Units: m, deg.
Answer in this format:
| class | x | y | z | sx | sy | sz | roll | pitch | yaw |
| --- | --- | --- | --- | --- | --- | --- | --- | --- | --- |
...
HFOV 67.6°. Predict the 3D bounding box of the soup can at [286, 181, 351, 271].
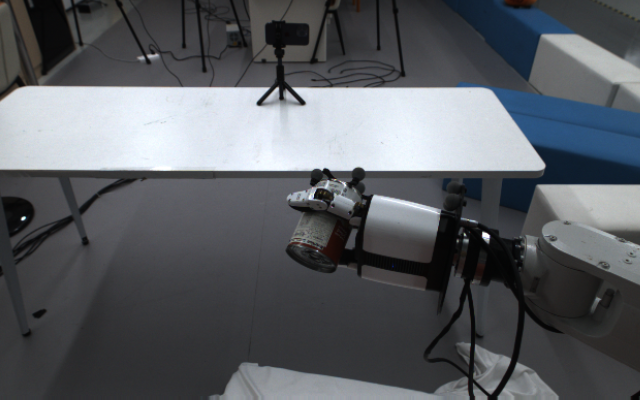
| class | x | y | z | sx | sy | sz | roll | pitch | yaw |
| --- | --- | --- | --- | --- | --- | --- | --- | --- | --- |
| soup can | 0.009 | 0.031 | 0.613 | 0.067 | 0.067 | 0.101 | 15 | 63 | 18 |
